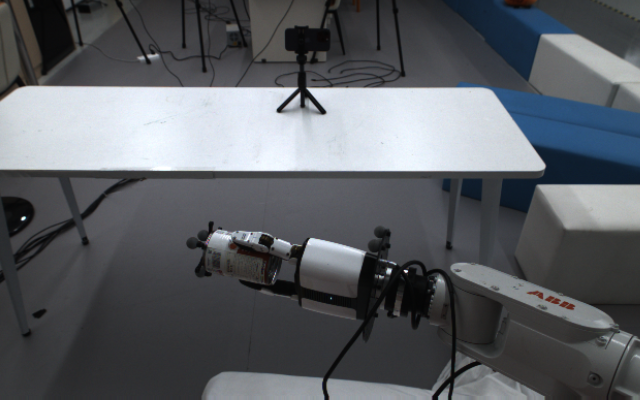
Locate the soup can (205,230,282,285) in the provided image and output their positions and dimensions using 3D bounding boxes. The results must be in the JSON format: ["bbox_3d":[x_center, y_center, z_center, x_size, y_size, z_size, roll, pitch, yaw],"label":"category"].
[{"bbox_3d":[-0.111,0.086,0.714,0.101,0.067,0.067,10,36,10],"label":"soup can"}]
